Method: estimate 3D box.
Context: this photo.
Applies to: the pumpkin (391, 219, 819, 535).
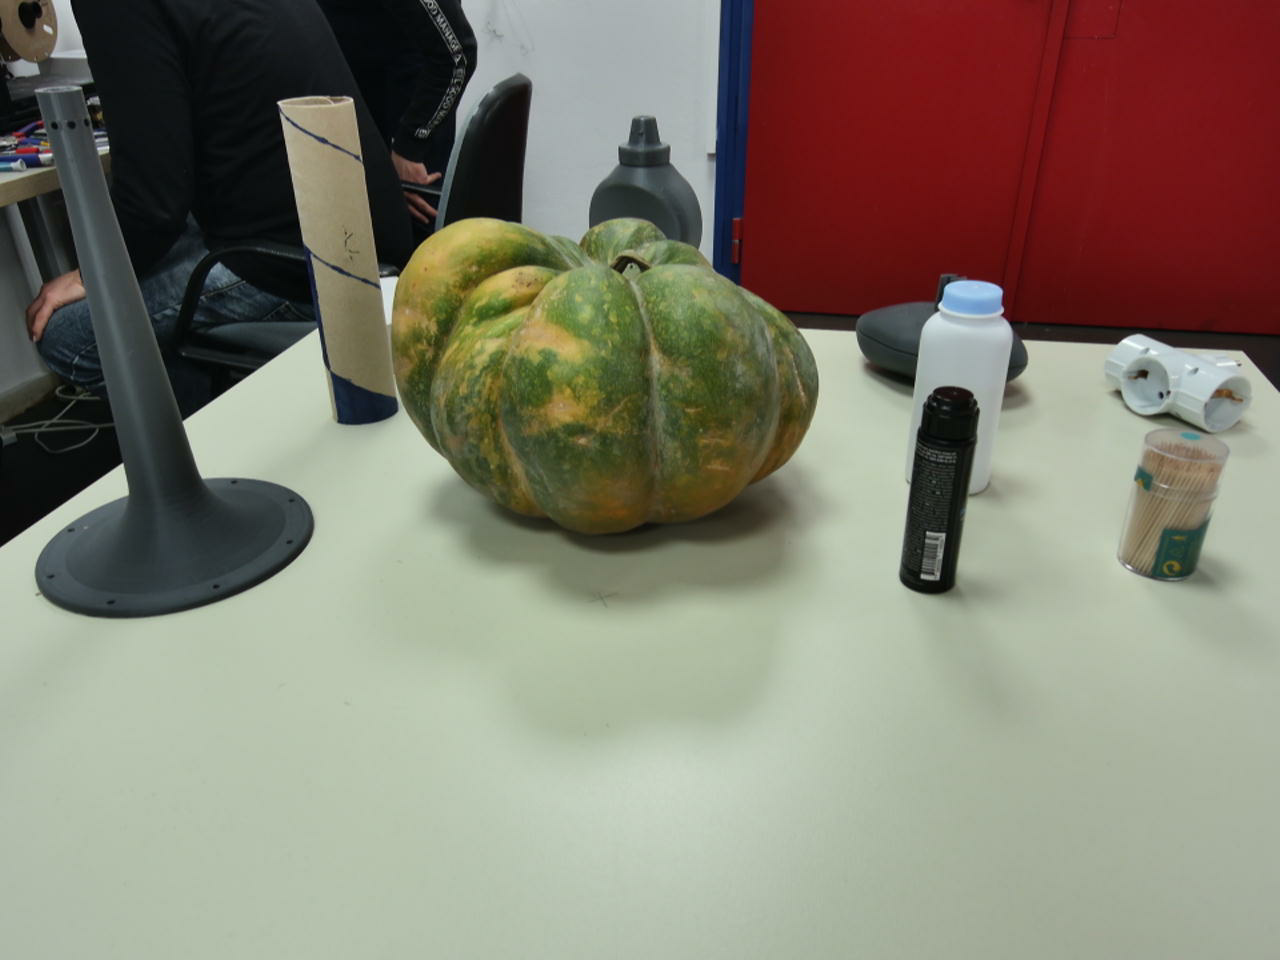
[{"bbox_3d":[-0.021,-0.073,0.614,0.237,0.173,0.270,-21,33,-36],"label":"pumpkin"}]
